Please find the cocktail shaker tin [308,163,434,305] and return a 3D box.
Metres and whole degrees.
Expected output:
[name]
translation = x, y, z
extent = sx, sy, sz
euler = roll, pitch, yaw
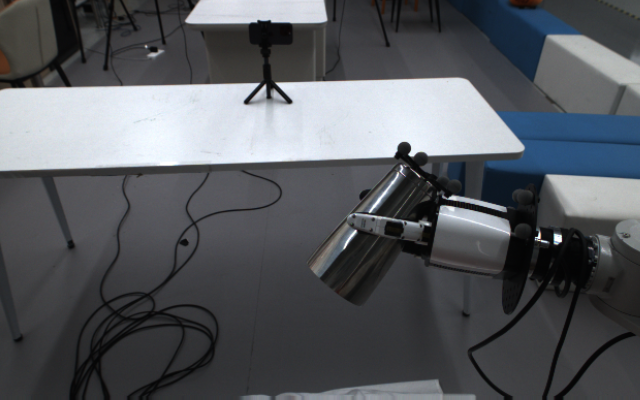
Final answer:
[cocktail shaker tin]
translation = 0.072, 0.036, 0.614
extent = 0.170, 0.093, 0.093
euler = -50, 46, 4
